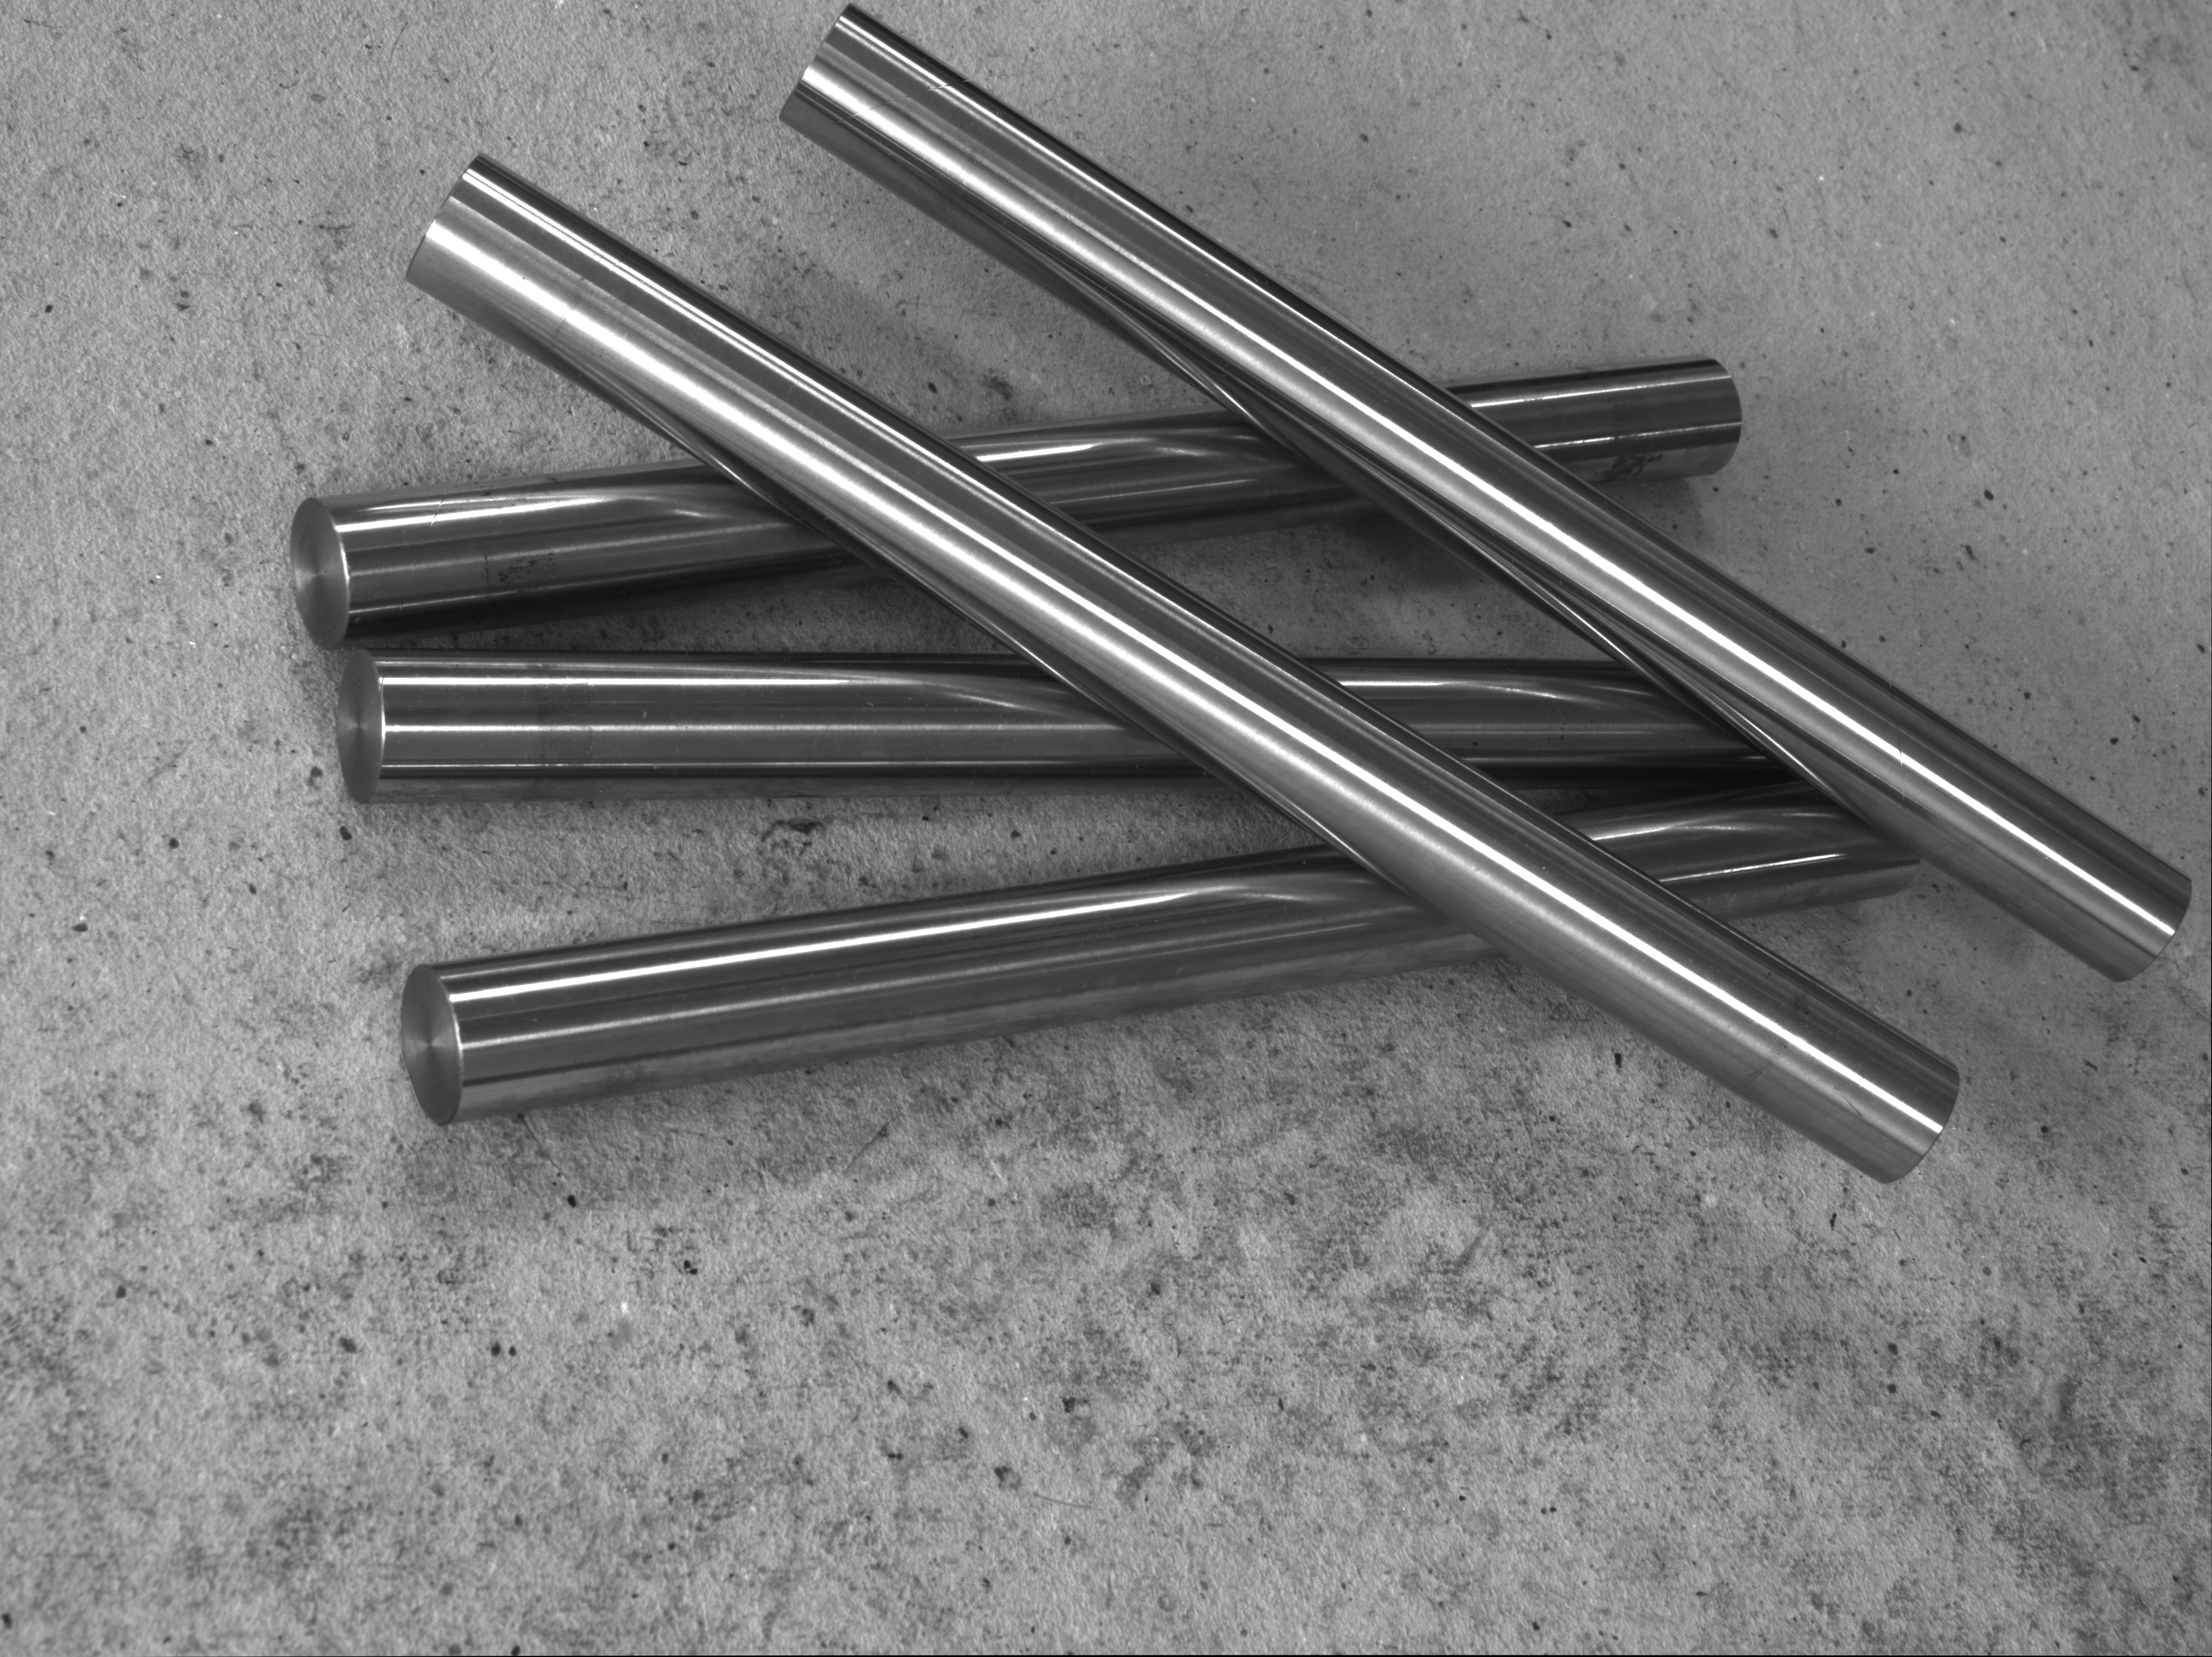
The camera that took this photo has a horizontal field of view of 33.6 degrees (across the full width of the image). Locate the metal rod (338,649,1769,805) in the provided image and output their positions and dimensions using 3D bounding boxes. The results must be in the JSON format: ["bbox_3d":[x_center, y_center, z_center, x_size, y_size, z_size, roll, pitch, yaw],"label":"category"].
[{"bbox_3d":[0.013,-0.019,0.657,0.301,0.025,0.025,-1,62,-29],"label":"metal rod"}]

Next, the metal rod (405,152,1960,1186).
[{"bbox_3d":[0.017,-0.025,0.631,0.300,0.025,0.025,31,52,-8],"label":"metal rod"}]

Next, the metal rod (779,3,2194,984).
[{"bbox_3d":[0.074,-0.060,0.683,0.300,0.025,0.025,32,51,-7],"label":"metal rod"}]

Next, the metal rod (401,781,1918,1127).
[{"bbox_3d":[0.024,0.017,0.641,0.301,0.025,0.025,-7,65,-31],"label":"metal rod"}]

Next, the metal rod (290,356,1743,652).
[{"bbox_3d":[-0.002,-0.063,0.676,0.301,0.025,0.025,-10,67,-32],"label":"metal rod"}]
